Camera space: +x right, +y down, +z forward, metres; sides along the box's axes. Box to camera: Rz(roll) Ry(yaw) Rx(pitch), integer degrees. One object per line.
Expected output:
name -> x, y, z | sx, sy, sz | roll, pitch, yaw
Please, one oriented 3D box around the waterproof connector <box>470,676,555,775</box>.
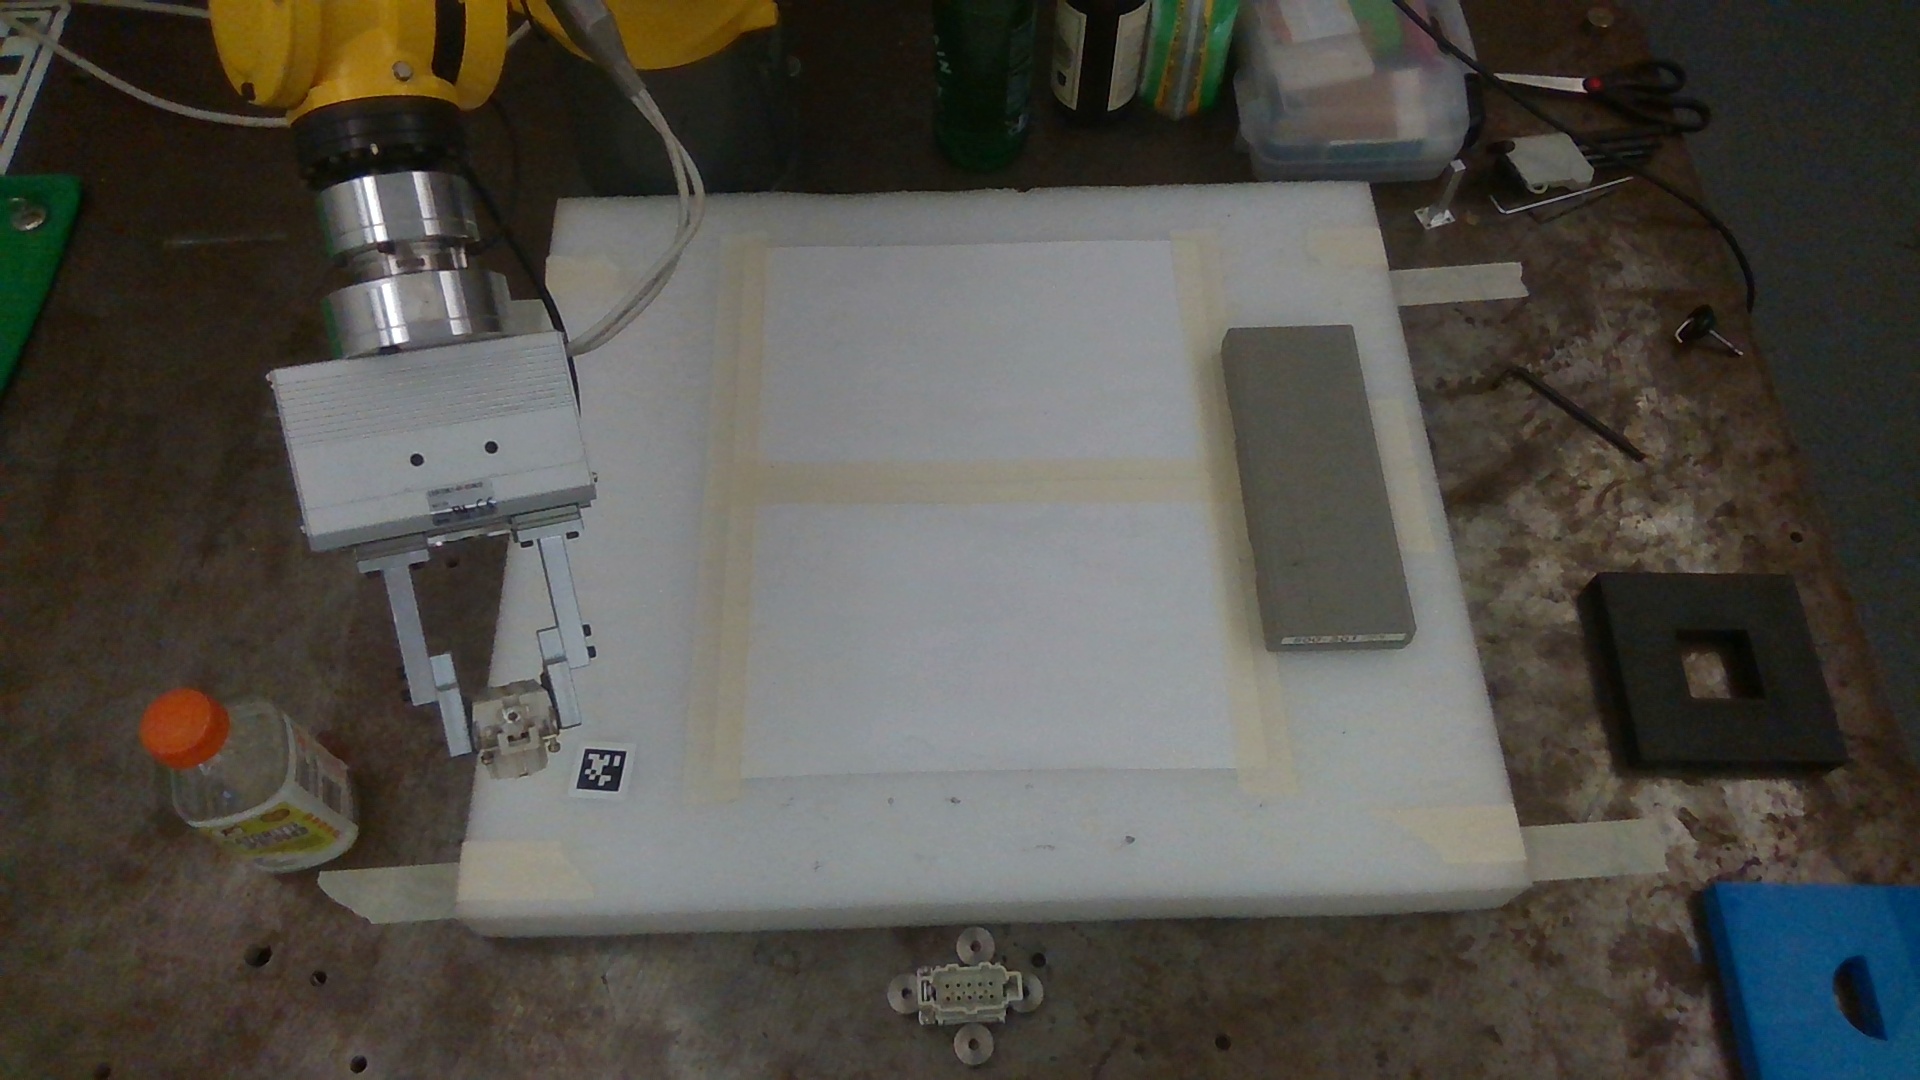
waterproof connector -> -0.223, 0.092, 0.690 | 0.036, 0.069, 0.038 | -13, 97, -19
